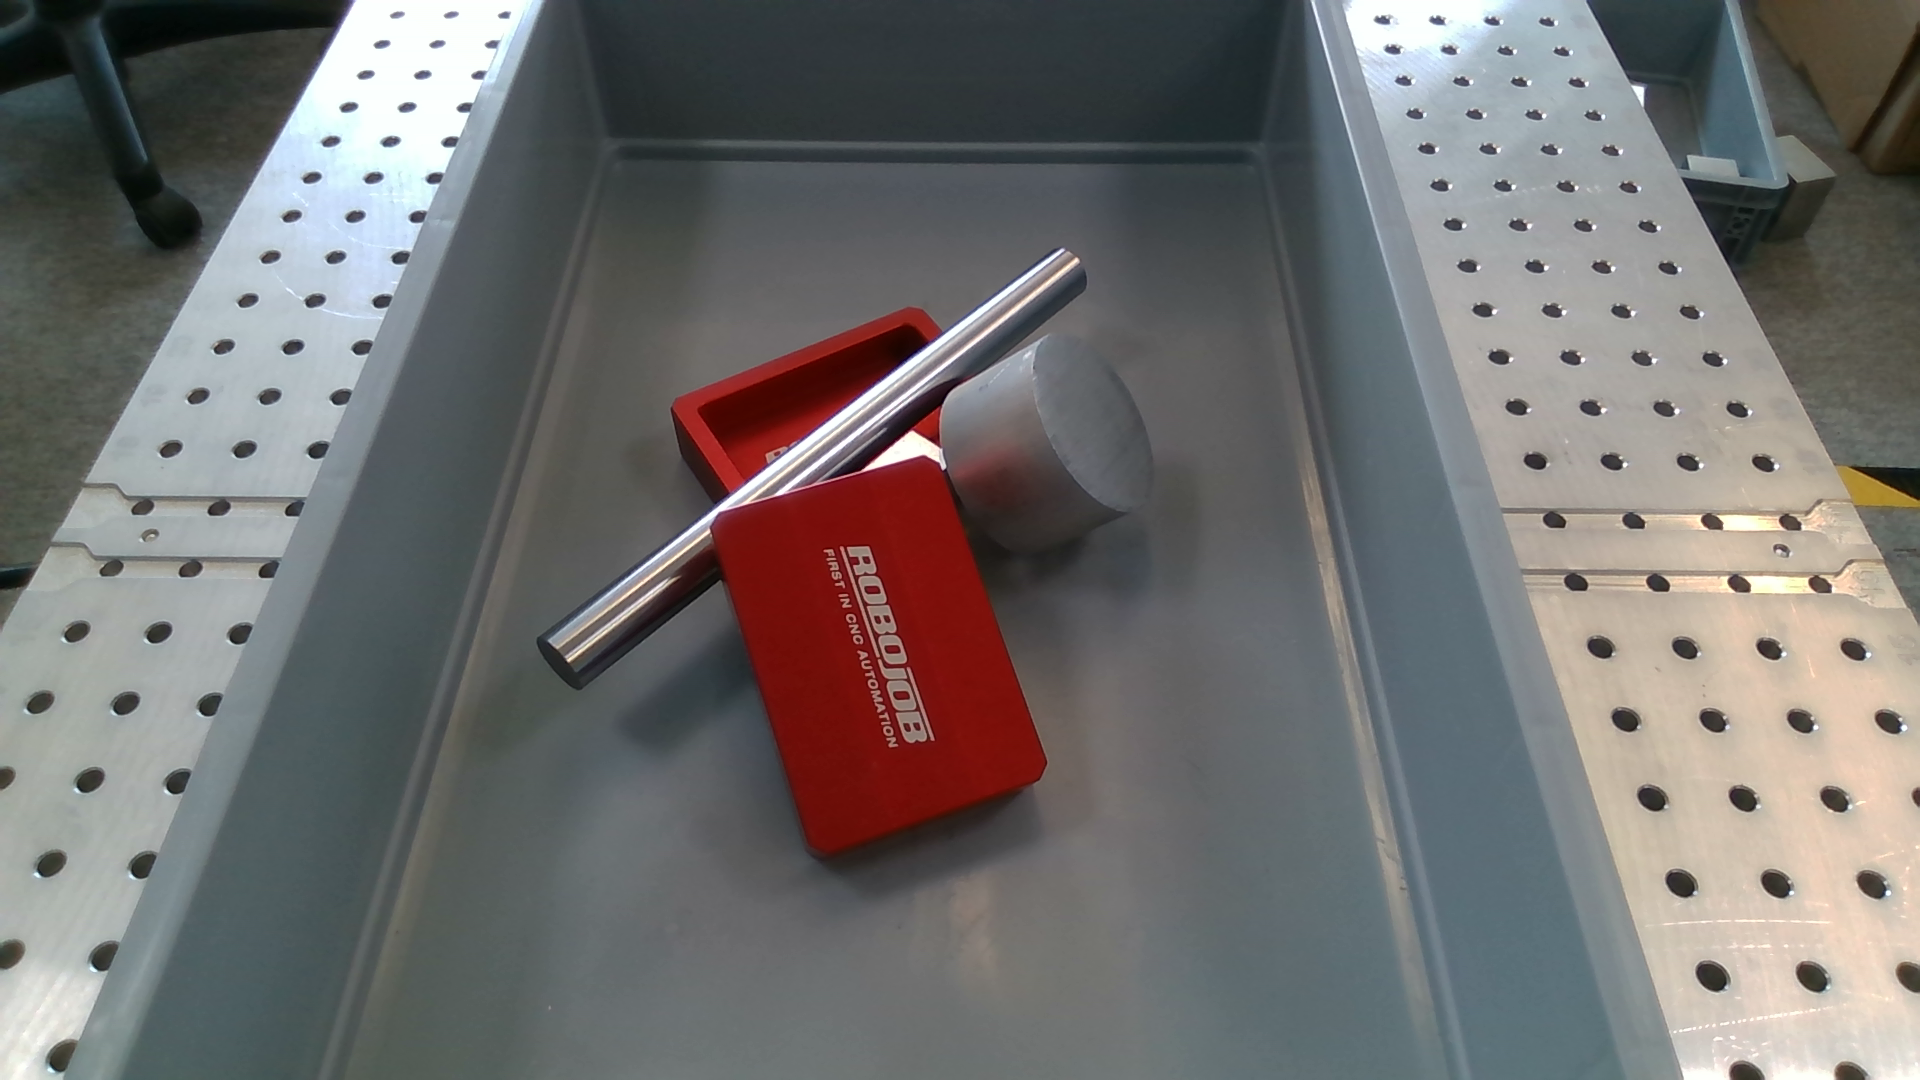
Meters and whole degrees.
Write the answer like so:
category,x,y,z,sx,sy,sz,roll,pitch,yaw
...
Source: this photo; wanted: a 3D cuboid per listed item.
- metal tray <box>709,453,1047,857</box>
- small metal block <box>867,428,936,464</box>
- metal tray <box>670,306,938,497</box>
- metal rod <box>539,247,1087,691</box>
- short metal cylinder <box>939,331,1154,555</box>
category,x,y,z,sx,sy,sz,roll,pitch,yaw
metal tray,-0.032,0.042,0.514,0.090,0.030,0.130,-17,77,-13
small metal block,-0.027,-0.010,0.577,0.025,0.050,0.050,33,58,25
metal tray,-0.053,-0.049,0.623,0.130,0.030,0.090,-25,55,-20
metal rod,-0.049,-0.041,0.580,0.025,0.025,0.299,34,58,25
short metal cylinder,0.037,-0.040,0.575,0.050,0.080,0.080,-25,39,35
